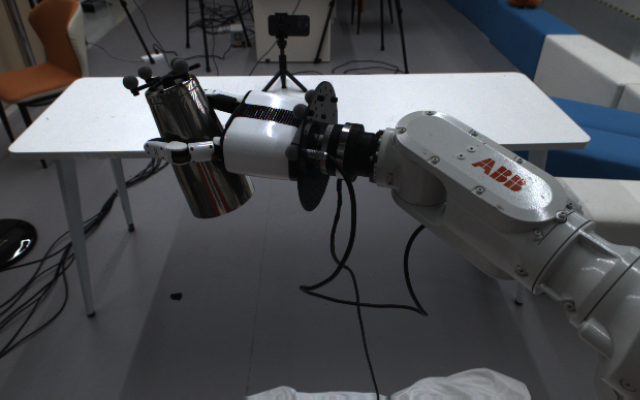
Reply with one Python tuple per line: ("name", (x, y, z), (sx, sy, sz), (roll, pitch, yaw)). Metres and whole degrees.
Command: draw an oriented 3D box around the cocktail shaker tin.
("cocktail shaker tin", (-0.159, -0.071, 0.631), (0.093, 0.170, 0.093), (-15, 29, 8))
